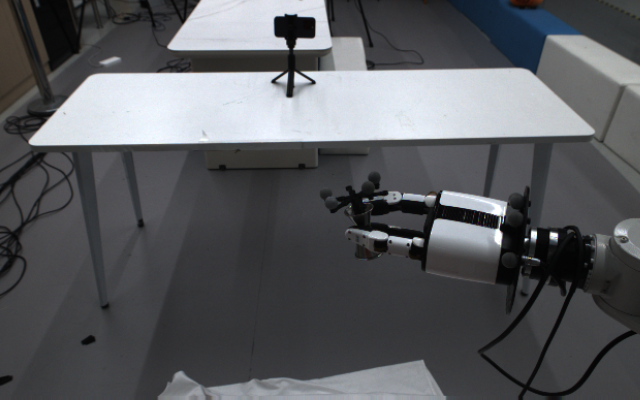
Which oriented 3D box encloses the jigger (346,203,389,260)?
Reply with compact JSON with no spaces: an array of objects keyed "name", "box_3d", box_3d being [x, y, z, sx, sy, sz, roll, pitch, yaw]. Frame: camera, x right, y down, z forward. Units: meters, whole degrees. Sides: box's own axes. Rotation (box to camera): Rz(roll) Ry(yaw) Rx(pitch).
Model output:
[{"name":"jigger","box_3d":[0.061,0.041,0.657,0.043,0.071,0.043,-14,21,6]}]
